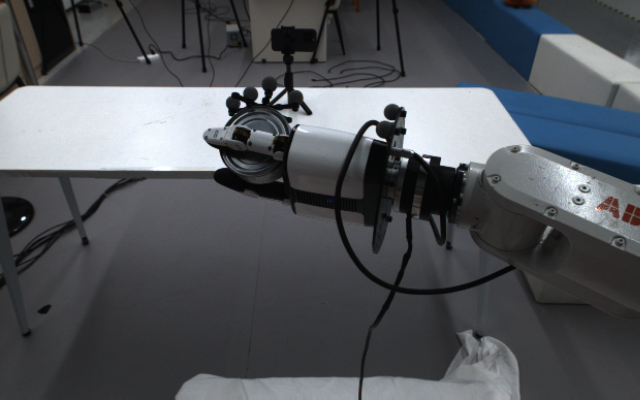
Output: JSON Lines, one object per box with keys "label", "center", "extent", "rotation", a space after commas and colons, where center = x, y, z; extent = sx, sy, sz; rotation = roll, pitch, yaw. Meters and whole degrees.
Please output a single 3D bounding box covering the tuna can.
{"label": "tuna can", "center": [-0.070, -0.063, 0.557], "extent": [0.085, 0.034, 0.085], "rotation": [-5, 70, 14]}
